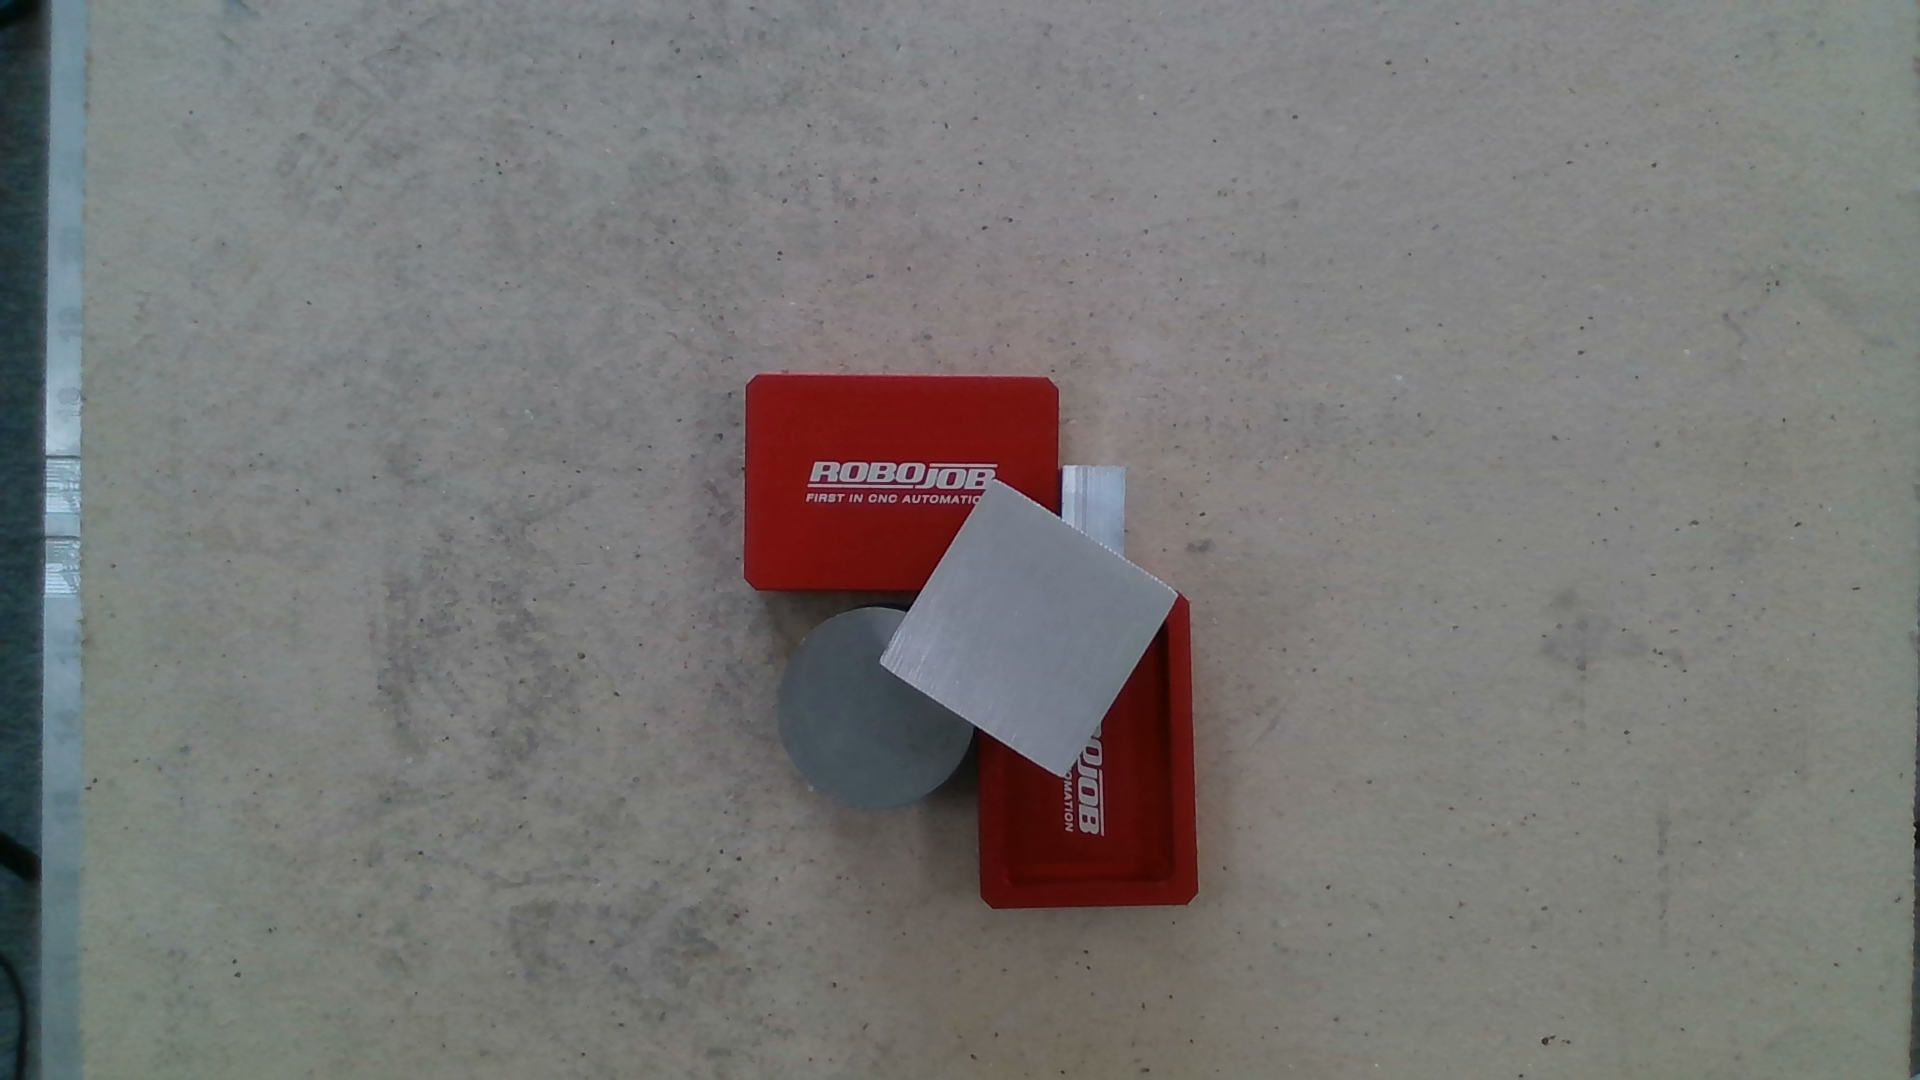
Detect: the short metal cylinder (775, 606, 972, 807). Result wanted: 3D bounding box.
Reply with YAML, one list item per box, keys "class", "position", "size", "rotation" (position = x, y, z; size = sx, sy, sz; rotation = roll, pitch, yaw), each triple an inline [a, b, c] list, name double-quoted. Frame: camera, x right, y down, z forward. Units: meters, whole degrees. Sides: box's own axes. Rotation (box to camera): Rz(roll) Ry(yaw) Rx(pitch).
- class: "short metal cylinder"
  position: [-0.034, 0.067, 0.575]
  size: [0.080, 0.050, 0.080]
  rotation: [0, 90, 0]

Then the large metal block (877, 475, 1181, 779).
- class: "large metal block"
  position: [0.025, 0.032, 0.524]
  size: [0.080, 0.050, 0.080]
  rotation: [33, 90, 0]

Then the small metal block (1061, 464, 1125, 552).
- class: "small metal block"
  position: [0.053, -0.005, 0.575]
  size: [0.025, 0.050, 0.050]
  rotation: [1, 90, 0]

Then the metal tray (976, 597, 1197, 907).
- class: "metal tray"
  position: [0.052, 0.087, 0.586]
  size: [0.090, 0.030, 0.130]
  rotation: [-2, 91, 0]

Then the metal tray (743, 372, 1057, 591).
- class: "metal tray"
  position: [-0.025, -0.024, 0.586]
  size: [0.130, 0.030, 0.090]
  rotation: [1, 90, 0]
